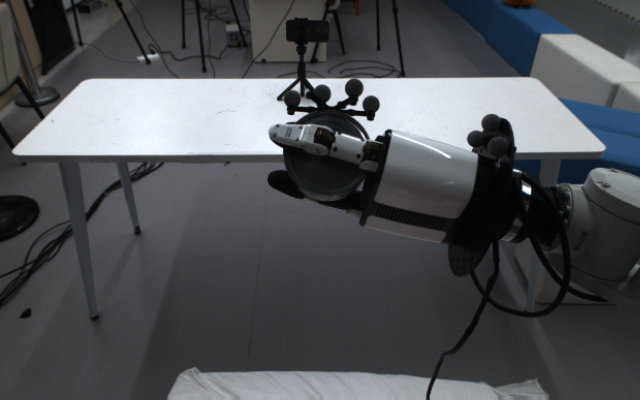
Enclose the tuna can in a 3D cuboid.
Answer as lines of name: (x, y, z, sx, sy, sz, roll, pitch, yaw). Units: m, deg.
tuna can: (0.009, -0.044, 0.479, 0.085, 0.034, 0.085, 0, 76, 0)
